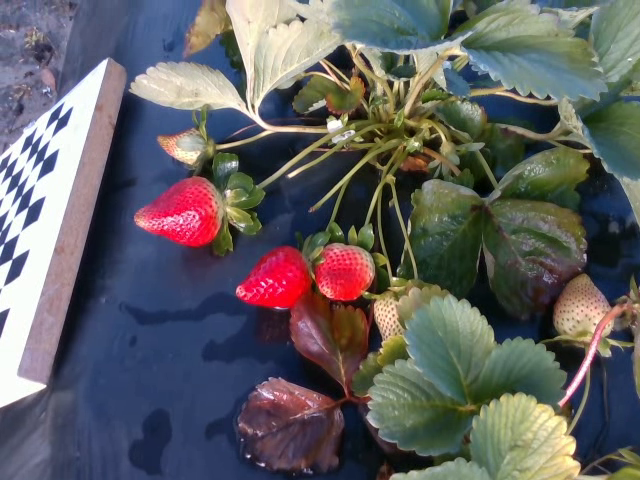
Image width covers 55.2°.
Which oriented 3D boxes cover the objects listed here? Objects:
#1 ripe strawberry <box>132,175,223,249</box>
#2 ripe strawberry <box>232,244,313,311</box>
[{"bbox_3d":[-0.096,-0.021,0.405,0.065,0.050,0.050,-6,26,-28],"label":"ripe strawberry"},{"bbox_3d":[-0.032,0.025,0.371,0.055,0.042,0.044,-17,13,-40],"label":"ripe strawberry"}]
